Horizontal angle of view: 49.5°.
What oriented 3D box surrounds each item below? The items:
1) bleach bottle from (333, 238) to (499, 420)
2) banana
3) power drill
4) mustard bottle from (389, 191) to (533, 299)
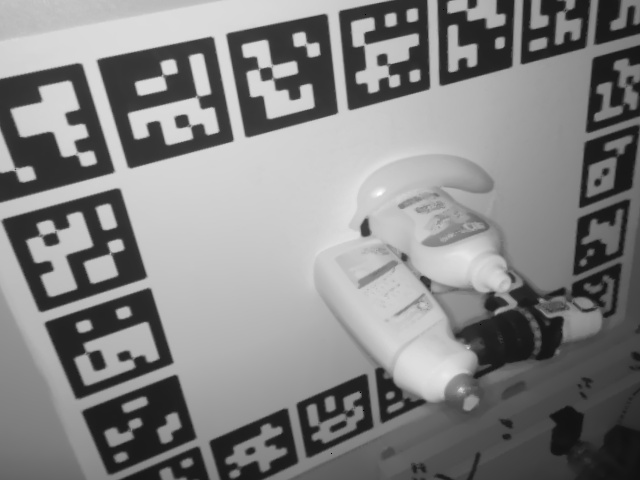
[{"bbox_3d":[0.104,0.089,0.695,0.104,0.250,0.067,-14,123,-18],"label":"bleach bottle"},{"bbox_3d":[0.135,-0.056,0.776,0.200,0.038,0.074,-14,116,-22],"label":"banana"},{"bbox_3d":[0.207,0.067,0.738,0.187,0.186,0.057,-5,116,-21],"label":"power drill"},{"bbox_3d":[0.153,0.009,0.711,0.097,0.190,0.058,-16,118,-16],"label":"mustard bottle"}]
